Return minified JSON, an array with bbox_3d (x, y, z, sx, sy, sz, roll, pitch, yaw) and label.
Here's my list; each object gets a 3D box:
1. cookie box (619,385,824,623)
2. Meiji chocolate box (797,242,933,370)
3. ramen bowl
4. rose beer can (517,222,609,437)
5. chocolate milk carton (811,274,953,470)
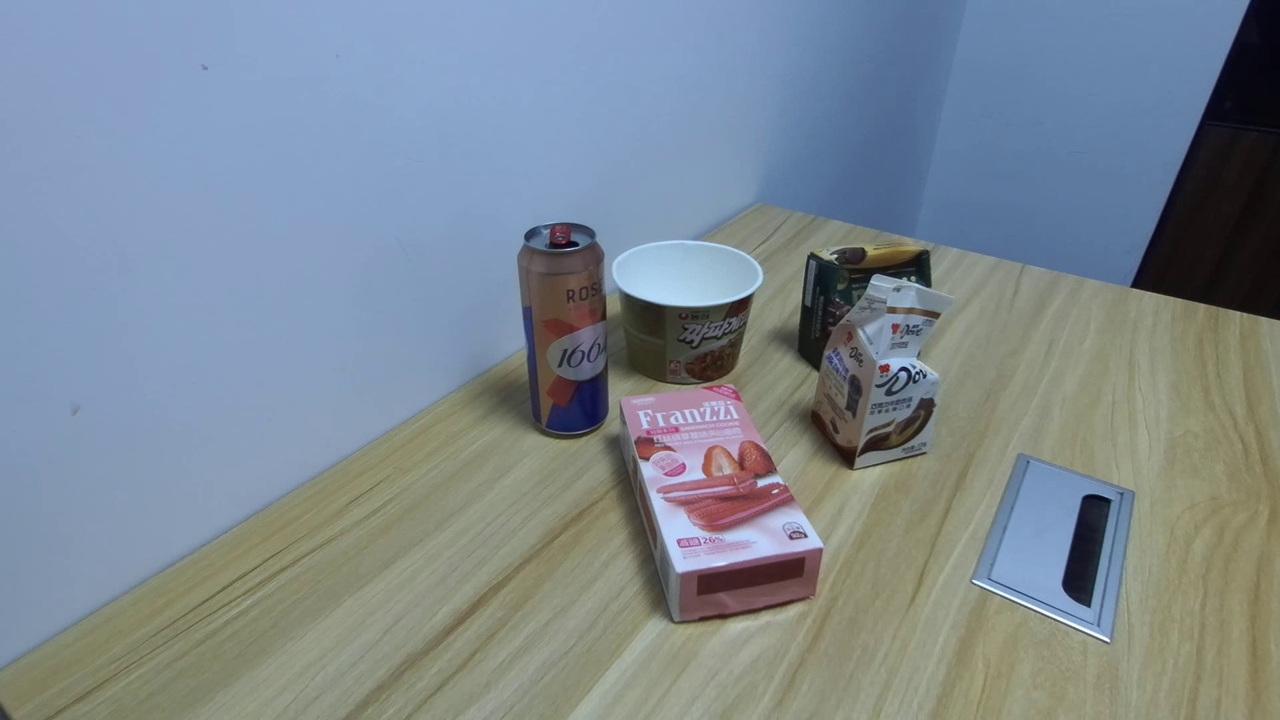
[{"bbox_3d":[0.053,0.091,0.507,0.105,0.049,0.186,-6,34,-11],"label":"cookie box"},{"bbox_3d":[0.217,-0.052,0.676,0.117,0.117,0.051,-9,23,-18],"label":"Meiji chocolate box"},{"bbox_3d":[0.043,-0.044,0.678,0.140,0.095,0.140,1,33,0],"label":"ramen bowl"},{"bbox_3d":[-0.060,-0.021,0.574,0.068,0.169,0.068,1,31,0],"label":"rose beer can"},{"bbox_3d":[0.192,0.001,0.551,0.076,0.156,0.073,-9,36,-15],"label":"chocolate milk carton"}]
